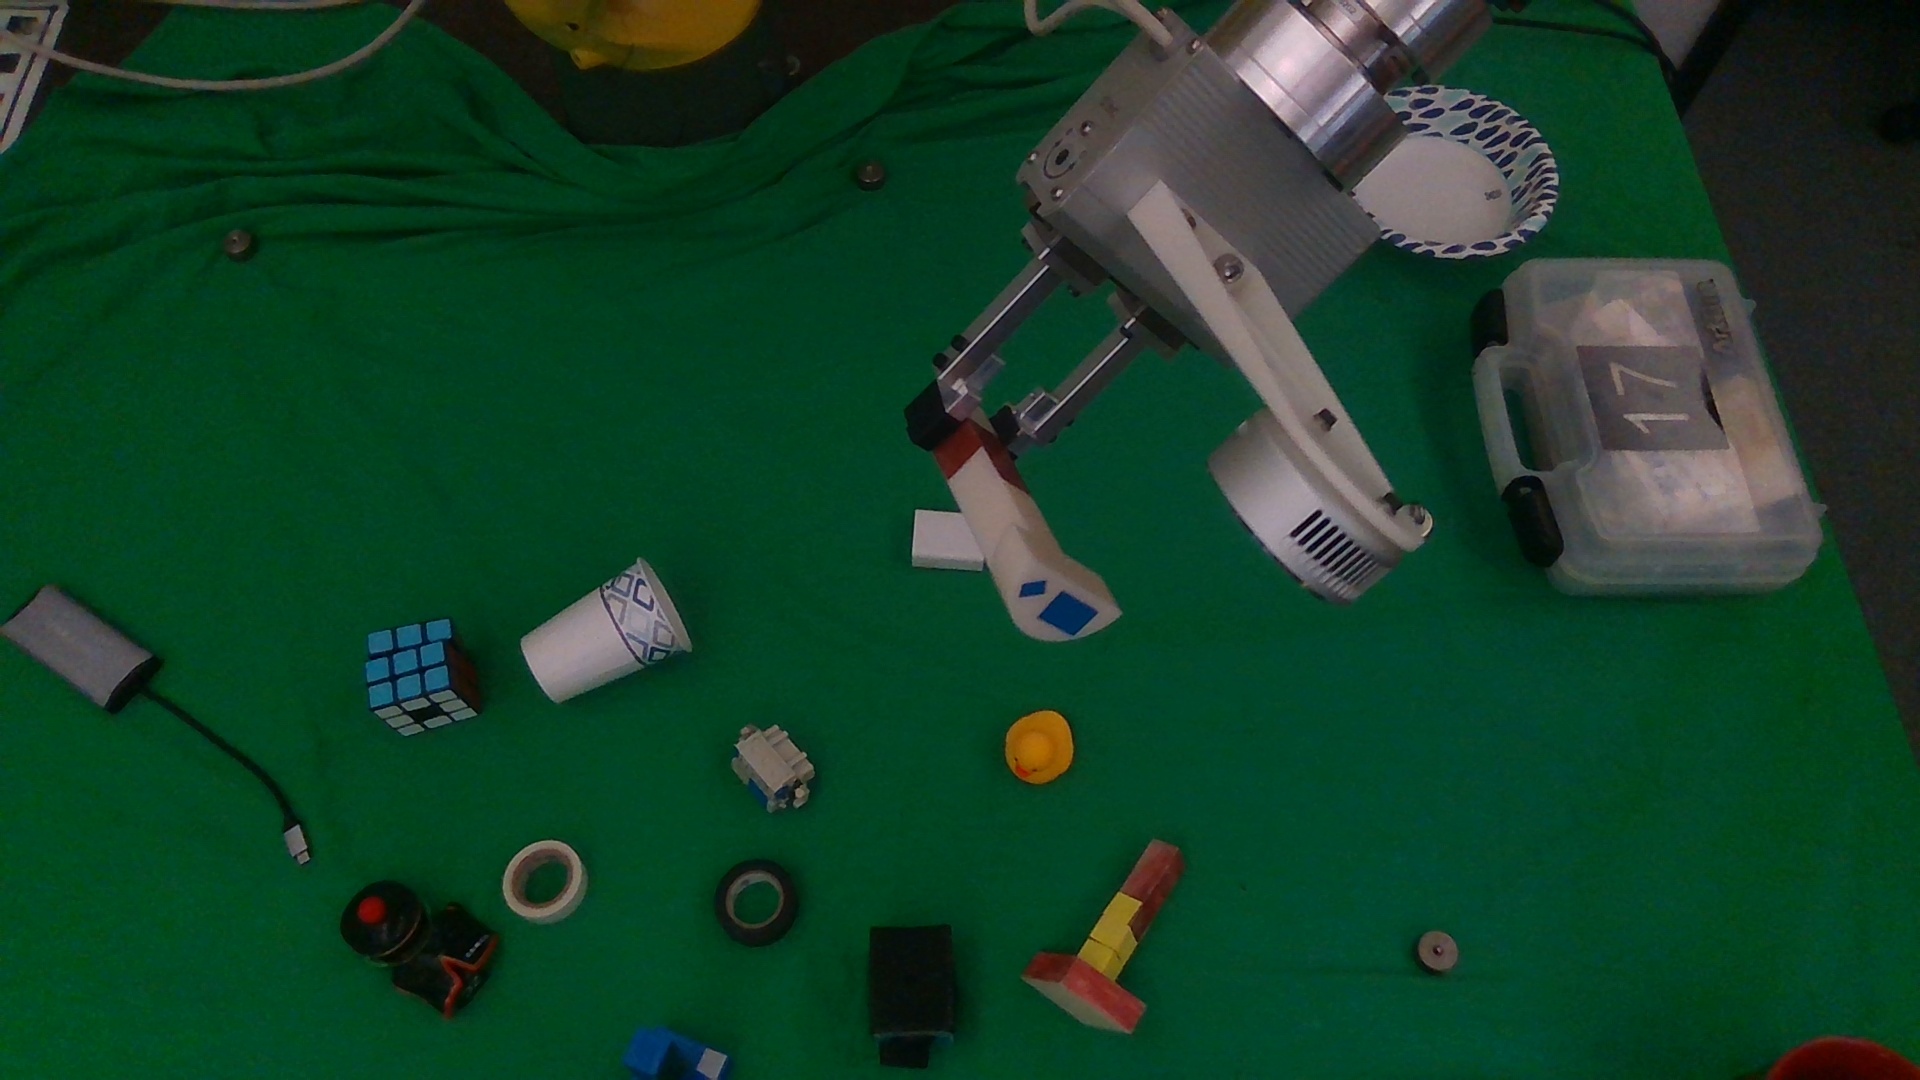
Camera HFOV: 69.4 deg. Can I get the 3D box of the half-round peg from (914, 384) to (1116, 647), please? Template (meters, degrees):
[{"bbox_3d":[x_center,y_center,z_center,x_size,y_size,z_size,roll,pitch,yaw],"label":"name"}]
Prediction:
[{"bbox_3d":[0.012,-0.014,0.503,0.031,0.054,0.122,-45,41,19],"label":"half-round peg"}]

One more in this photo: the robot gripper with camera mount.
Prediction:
[{"bbox_3d":[0.066,-0.033,0.463,0.159,0.118,0.193,-42,44,22],"label":"robot gripper with camera mount"}]
